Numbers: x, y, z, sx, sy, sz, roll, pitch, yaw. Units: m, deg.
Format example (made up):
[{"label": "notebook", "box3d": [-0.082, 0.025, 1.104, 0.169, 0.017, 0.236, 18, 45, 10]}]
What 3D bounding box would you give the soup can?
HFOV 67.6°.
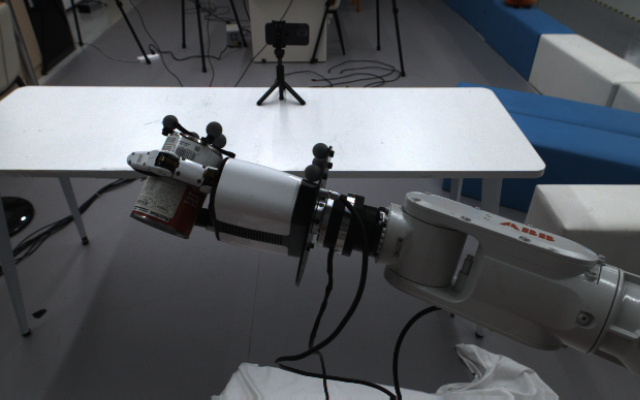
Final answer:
[{"label": "soup can", "box3d": [-0.157, -0.014, 0.540, 0.067, 0.067, 0.101, 16, 76, 19]}]
